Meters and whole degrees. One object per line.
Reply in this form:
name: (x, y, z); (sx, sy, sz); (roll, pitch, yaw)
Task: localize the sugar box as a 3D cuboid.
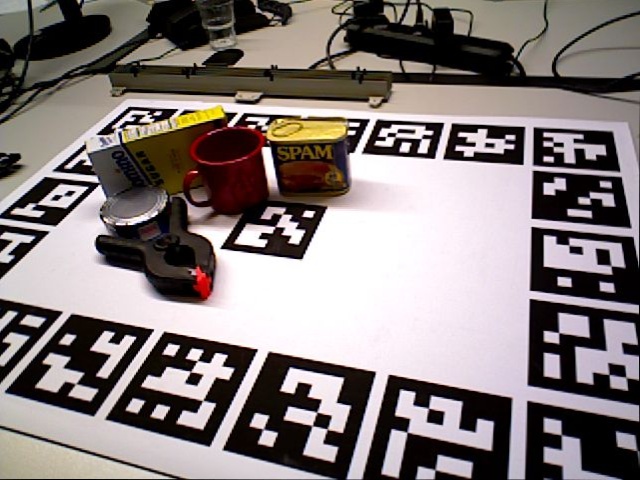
sugar box: (-0.209, -0.098, 0.698); (0.174, 0.095, 0.045); (-18, 41, -13)

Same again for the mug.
mug: (-0.124, -0.081, 0.660); (0.093, 0.083, 0.114); (27, 53, 33)

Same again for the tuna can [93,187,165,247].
tuna can: (-0.232, -0.024, 0.654); (0.085, 0.034, 0.084); (-6, 43, 4)

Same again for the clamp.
clamp: (-0.172, 0.023, 0.598); (0.119, 0.037, 0.165); (-29, 49, -28)

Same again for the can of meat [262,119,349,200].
can of meat: (-0.015, -0.099, 0.672); (0.102, 0.085, 0.056); (1, 40, 9)
